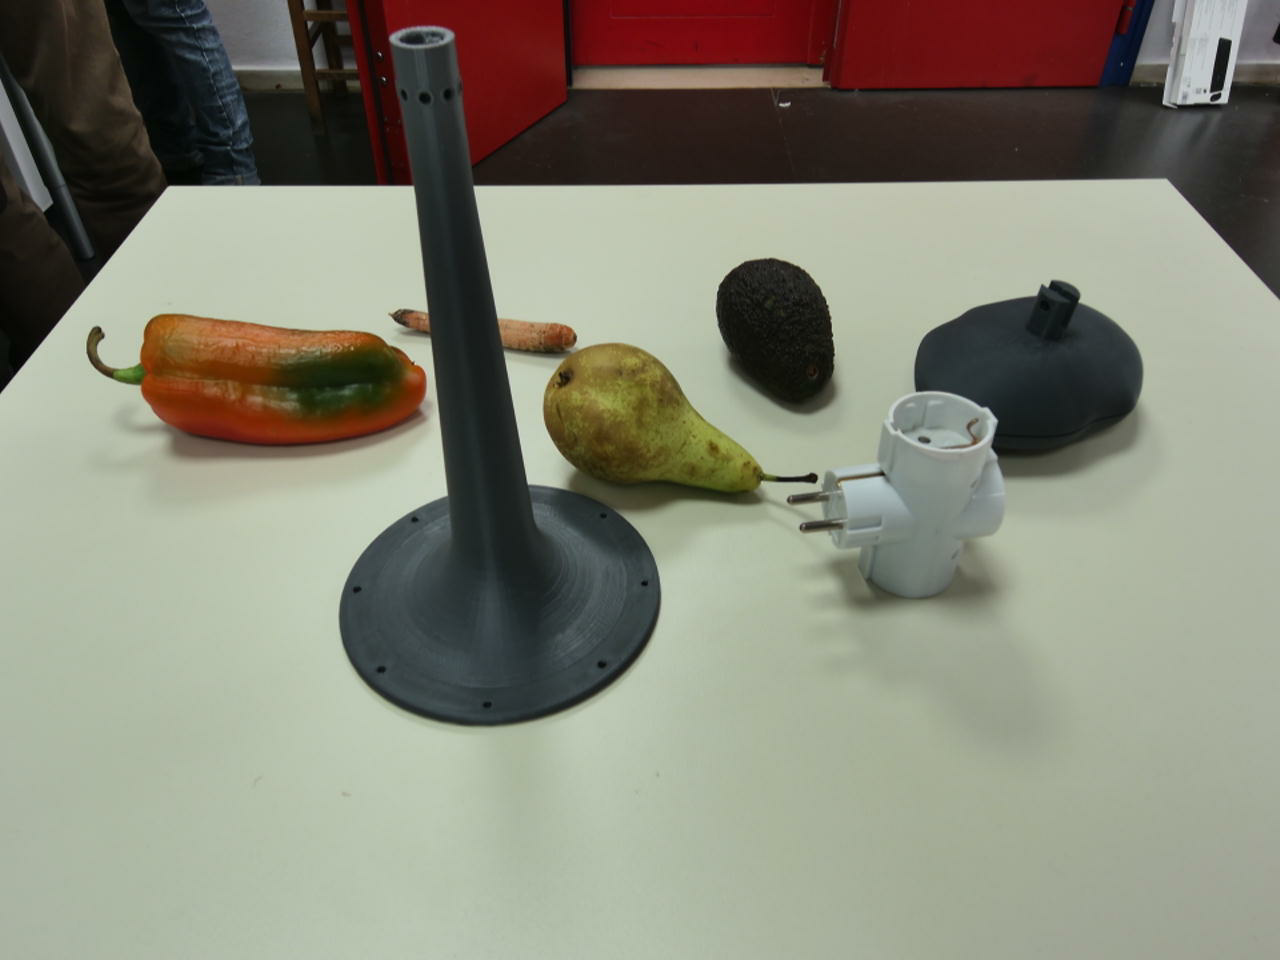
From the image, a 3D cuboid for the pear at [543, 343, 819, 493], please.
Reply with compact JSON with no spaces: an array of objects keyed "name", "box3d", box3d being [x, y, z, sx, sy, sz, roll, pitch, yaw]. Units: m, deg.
[{"name":"pear","box3d":[0.021,-0.033,0.522,0.144,0.075,0.071,4,39,6]}]
